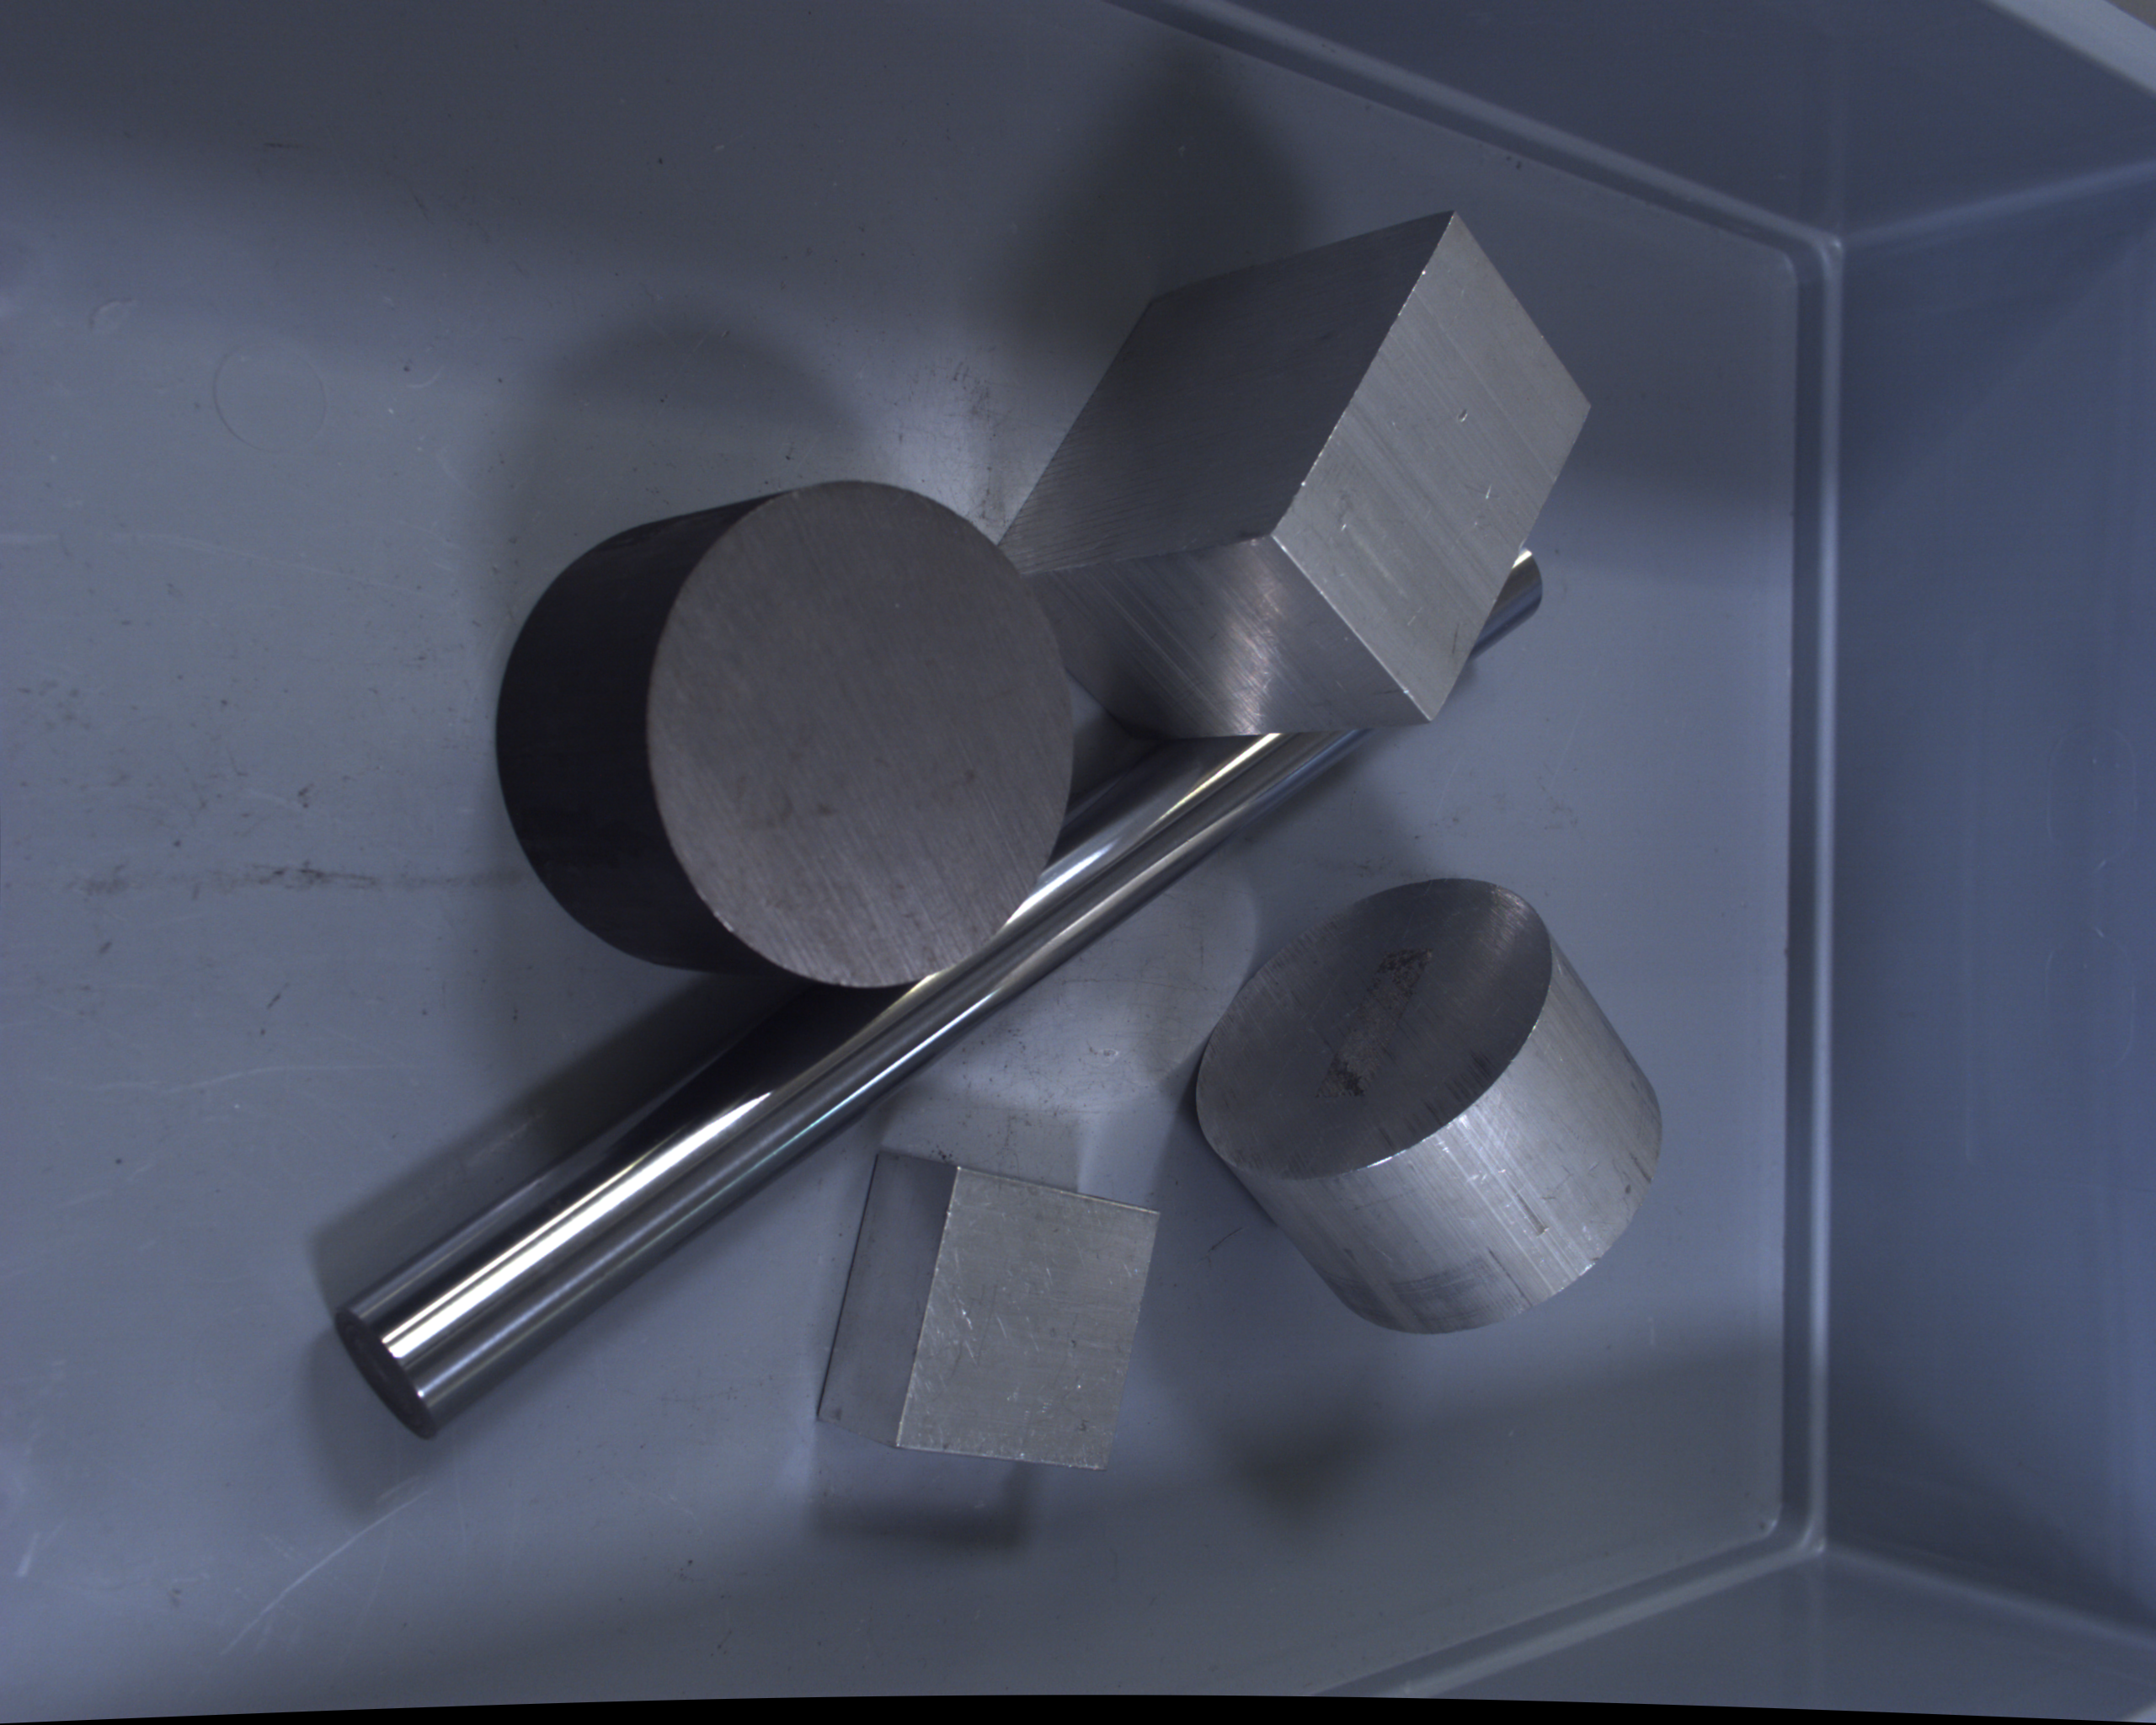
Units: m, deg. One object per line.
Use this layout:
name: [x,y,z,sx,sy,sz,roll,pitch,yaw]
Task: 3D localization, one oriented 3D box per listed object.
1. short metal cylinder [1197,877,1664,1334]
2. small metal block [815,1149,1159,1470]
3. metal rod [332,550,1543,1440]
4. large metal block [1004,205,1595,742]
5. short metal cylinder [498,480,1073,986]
short metal cylinder: [0.072,0.049,0.430,0.050,0.080,0.080,51,60,-28]
small metal block: [-0.016,0.084,0.391,0.050,0.025,0.050,19,78,-38]
metal rod: [-0.004,0.005,0.402,0.302,0.025,0.025,-35,112,-34]
large metal block: [0.039,-0.071,0.402,0.050,0.080,0.080,44,64,-32]
short metal cylinder: [-0.048,-0.021,0.348,0.081,0.050,0.079,0,90,-40]
